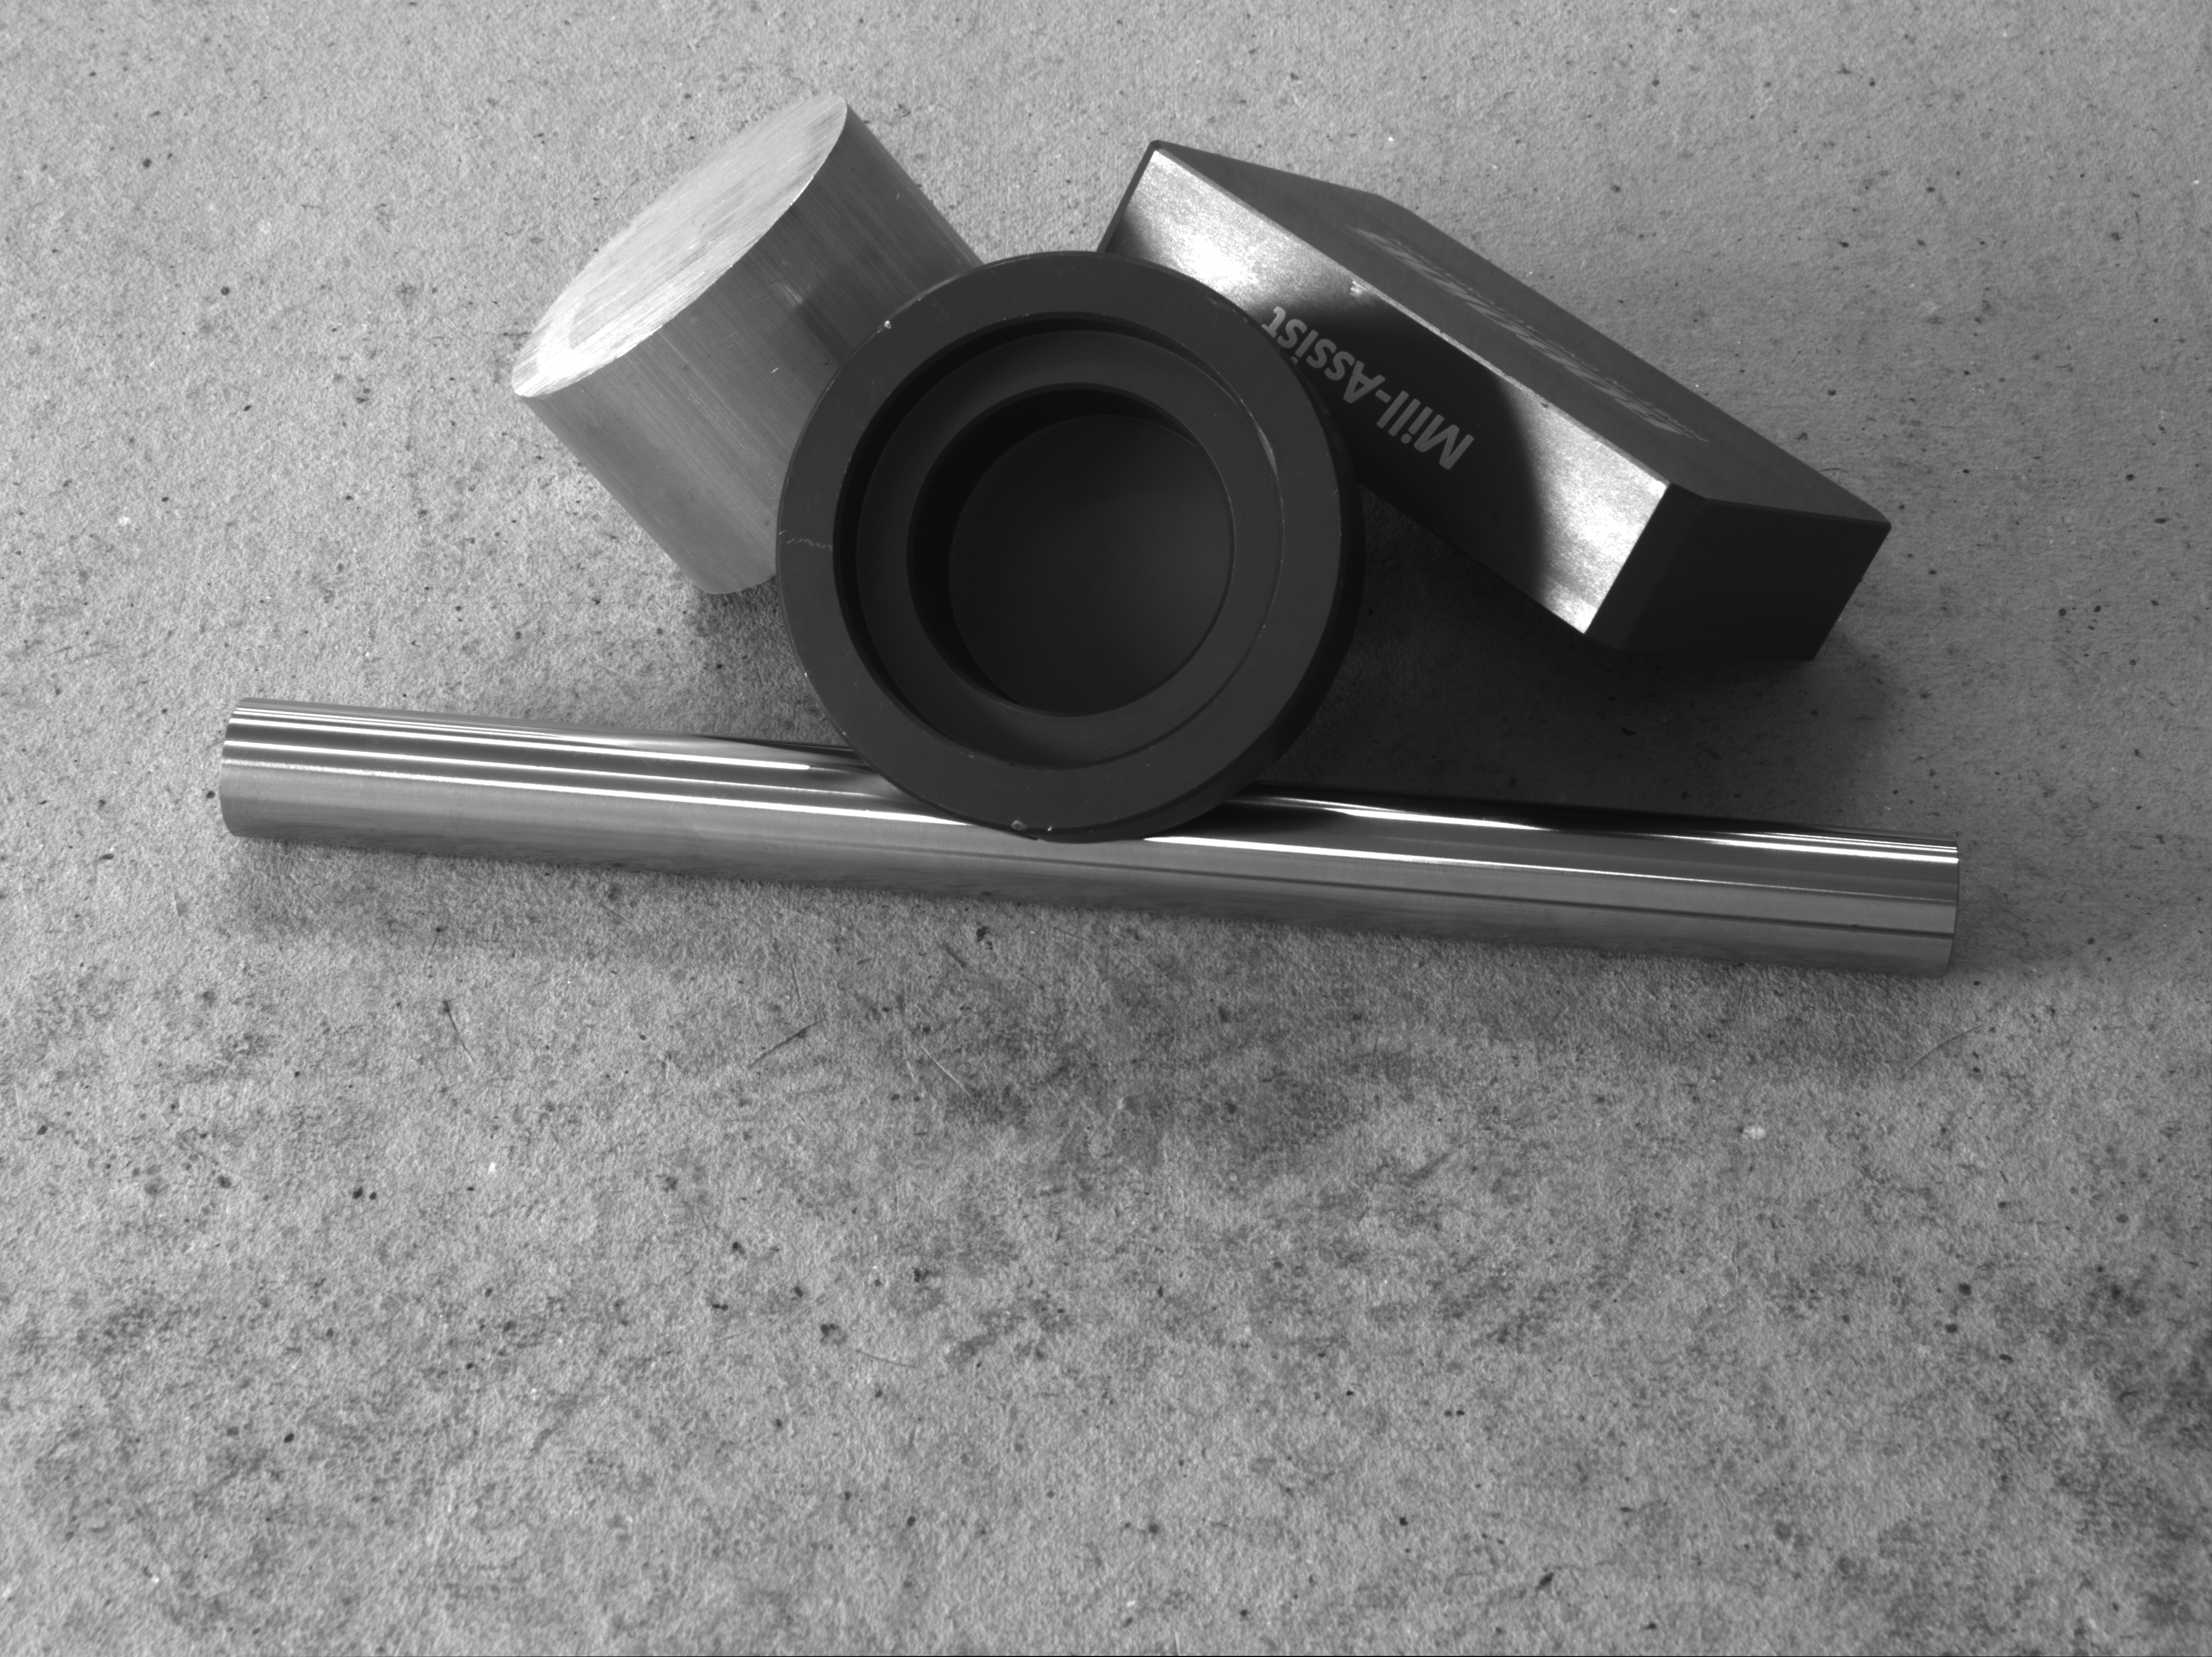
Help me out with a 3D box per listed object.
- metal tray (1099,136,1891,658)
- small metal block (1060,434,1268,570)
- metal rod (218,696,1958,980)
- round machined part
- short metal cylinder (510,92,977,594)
[{"bbox_3d":[0.070,-0.078,0.672,0.130,0.030,0.090,38,21,27],"label":"metal tray"},{"bbox_3d":[0.004,-0.062,0.677,0.050,0.050,0.025,19,52,15],"label":"small metal block"},{"bbox_3d":[-0.005,0.001,0.642,0.300,0.025,0.025,5,50,4],"label":"metal rod"},{"bbox_3d":[-0.004,-0.046,0.630,0.098,0.042,0.098,-1,84,12],"label":"round machined part"},{"bbox_3d":[-0.063,-0.089,0.676,0.080,0.050,0.080,-34,26,19],"label":"short metal cylinder"}]
